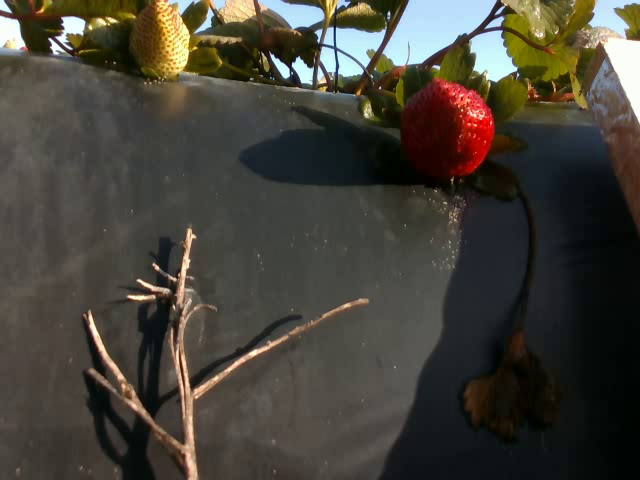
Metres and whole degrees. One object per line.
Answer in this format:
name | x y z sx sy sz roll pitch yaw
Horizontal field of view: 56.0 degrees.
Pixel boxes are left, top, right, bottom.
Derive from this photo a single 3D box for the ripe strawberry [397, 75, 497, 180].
ripe strawberry | 0.016 -0.015 0.076 0.015 0.015 0.023 13 -3 4
